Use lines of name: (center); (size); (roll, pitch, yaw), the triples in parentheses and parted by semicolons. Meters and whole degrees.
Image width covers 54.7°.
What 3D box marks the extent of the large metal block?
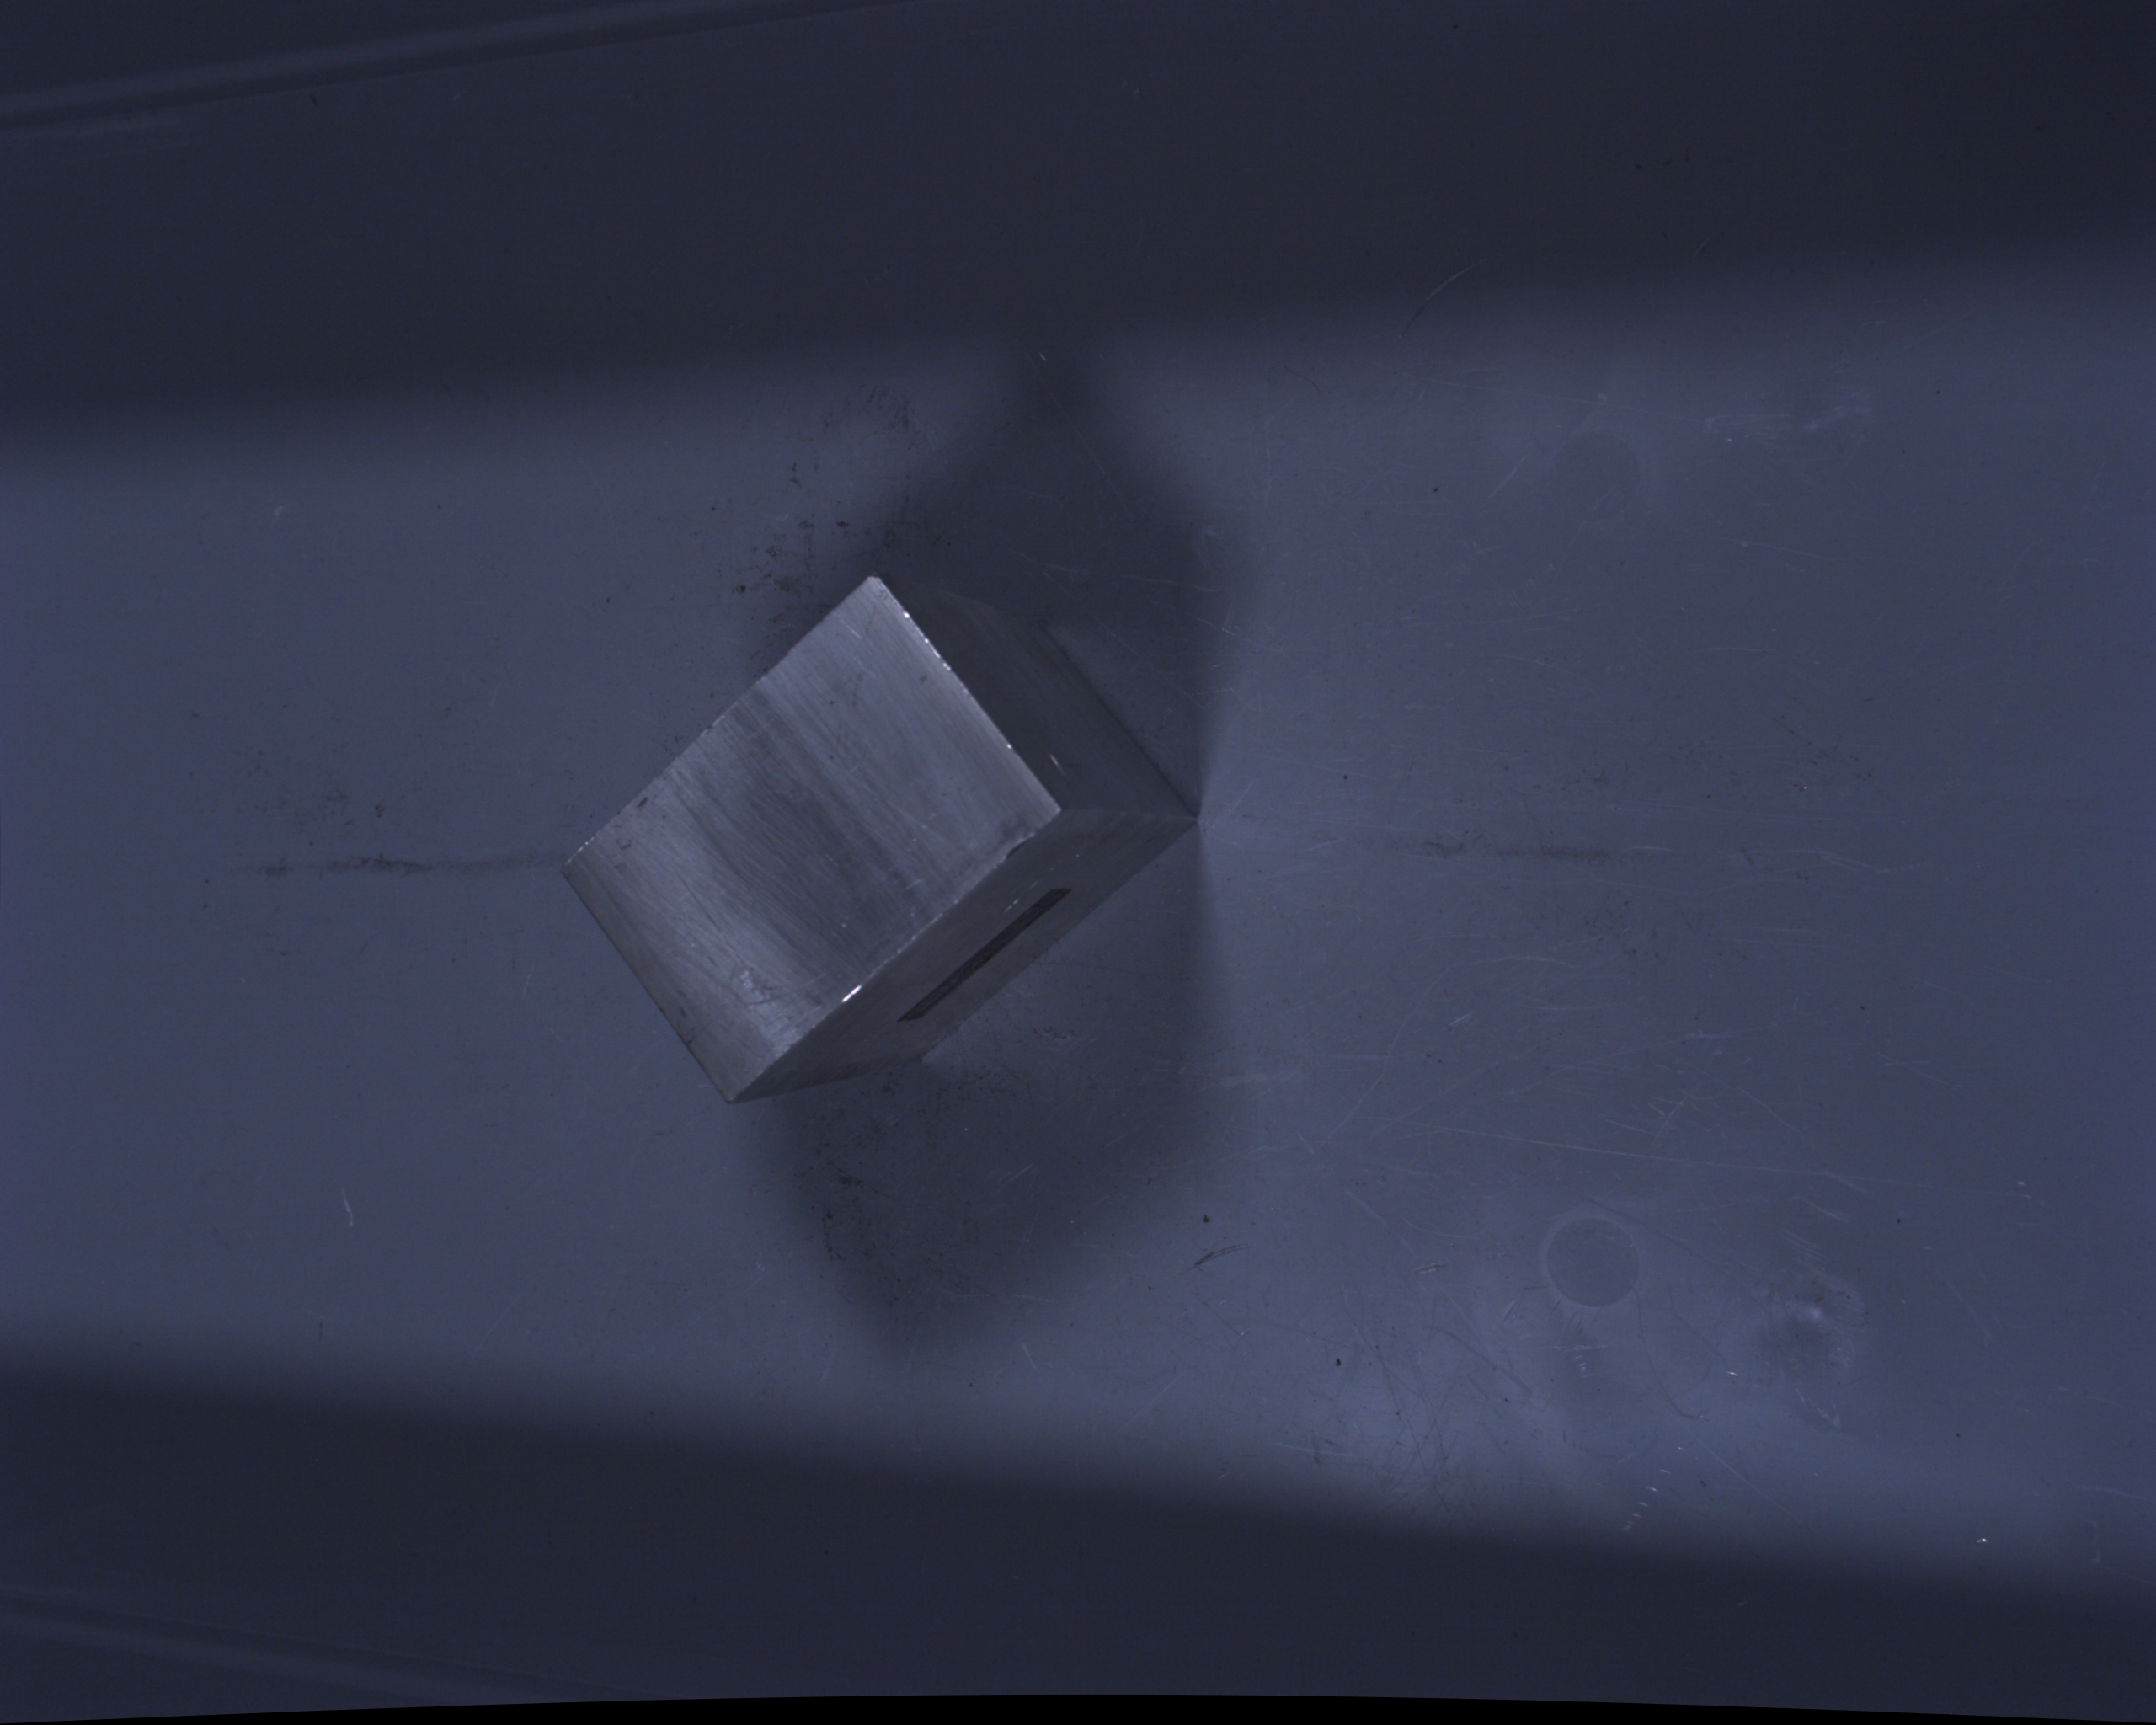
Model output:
large metal block: (-0.033, -0.004, 0.389); (0.080, 0.080, 0.050); (-41, 77, 15)
